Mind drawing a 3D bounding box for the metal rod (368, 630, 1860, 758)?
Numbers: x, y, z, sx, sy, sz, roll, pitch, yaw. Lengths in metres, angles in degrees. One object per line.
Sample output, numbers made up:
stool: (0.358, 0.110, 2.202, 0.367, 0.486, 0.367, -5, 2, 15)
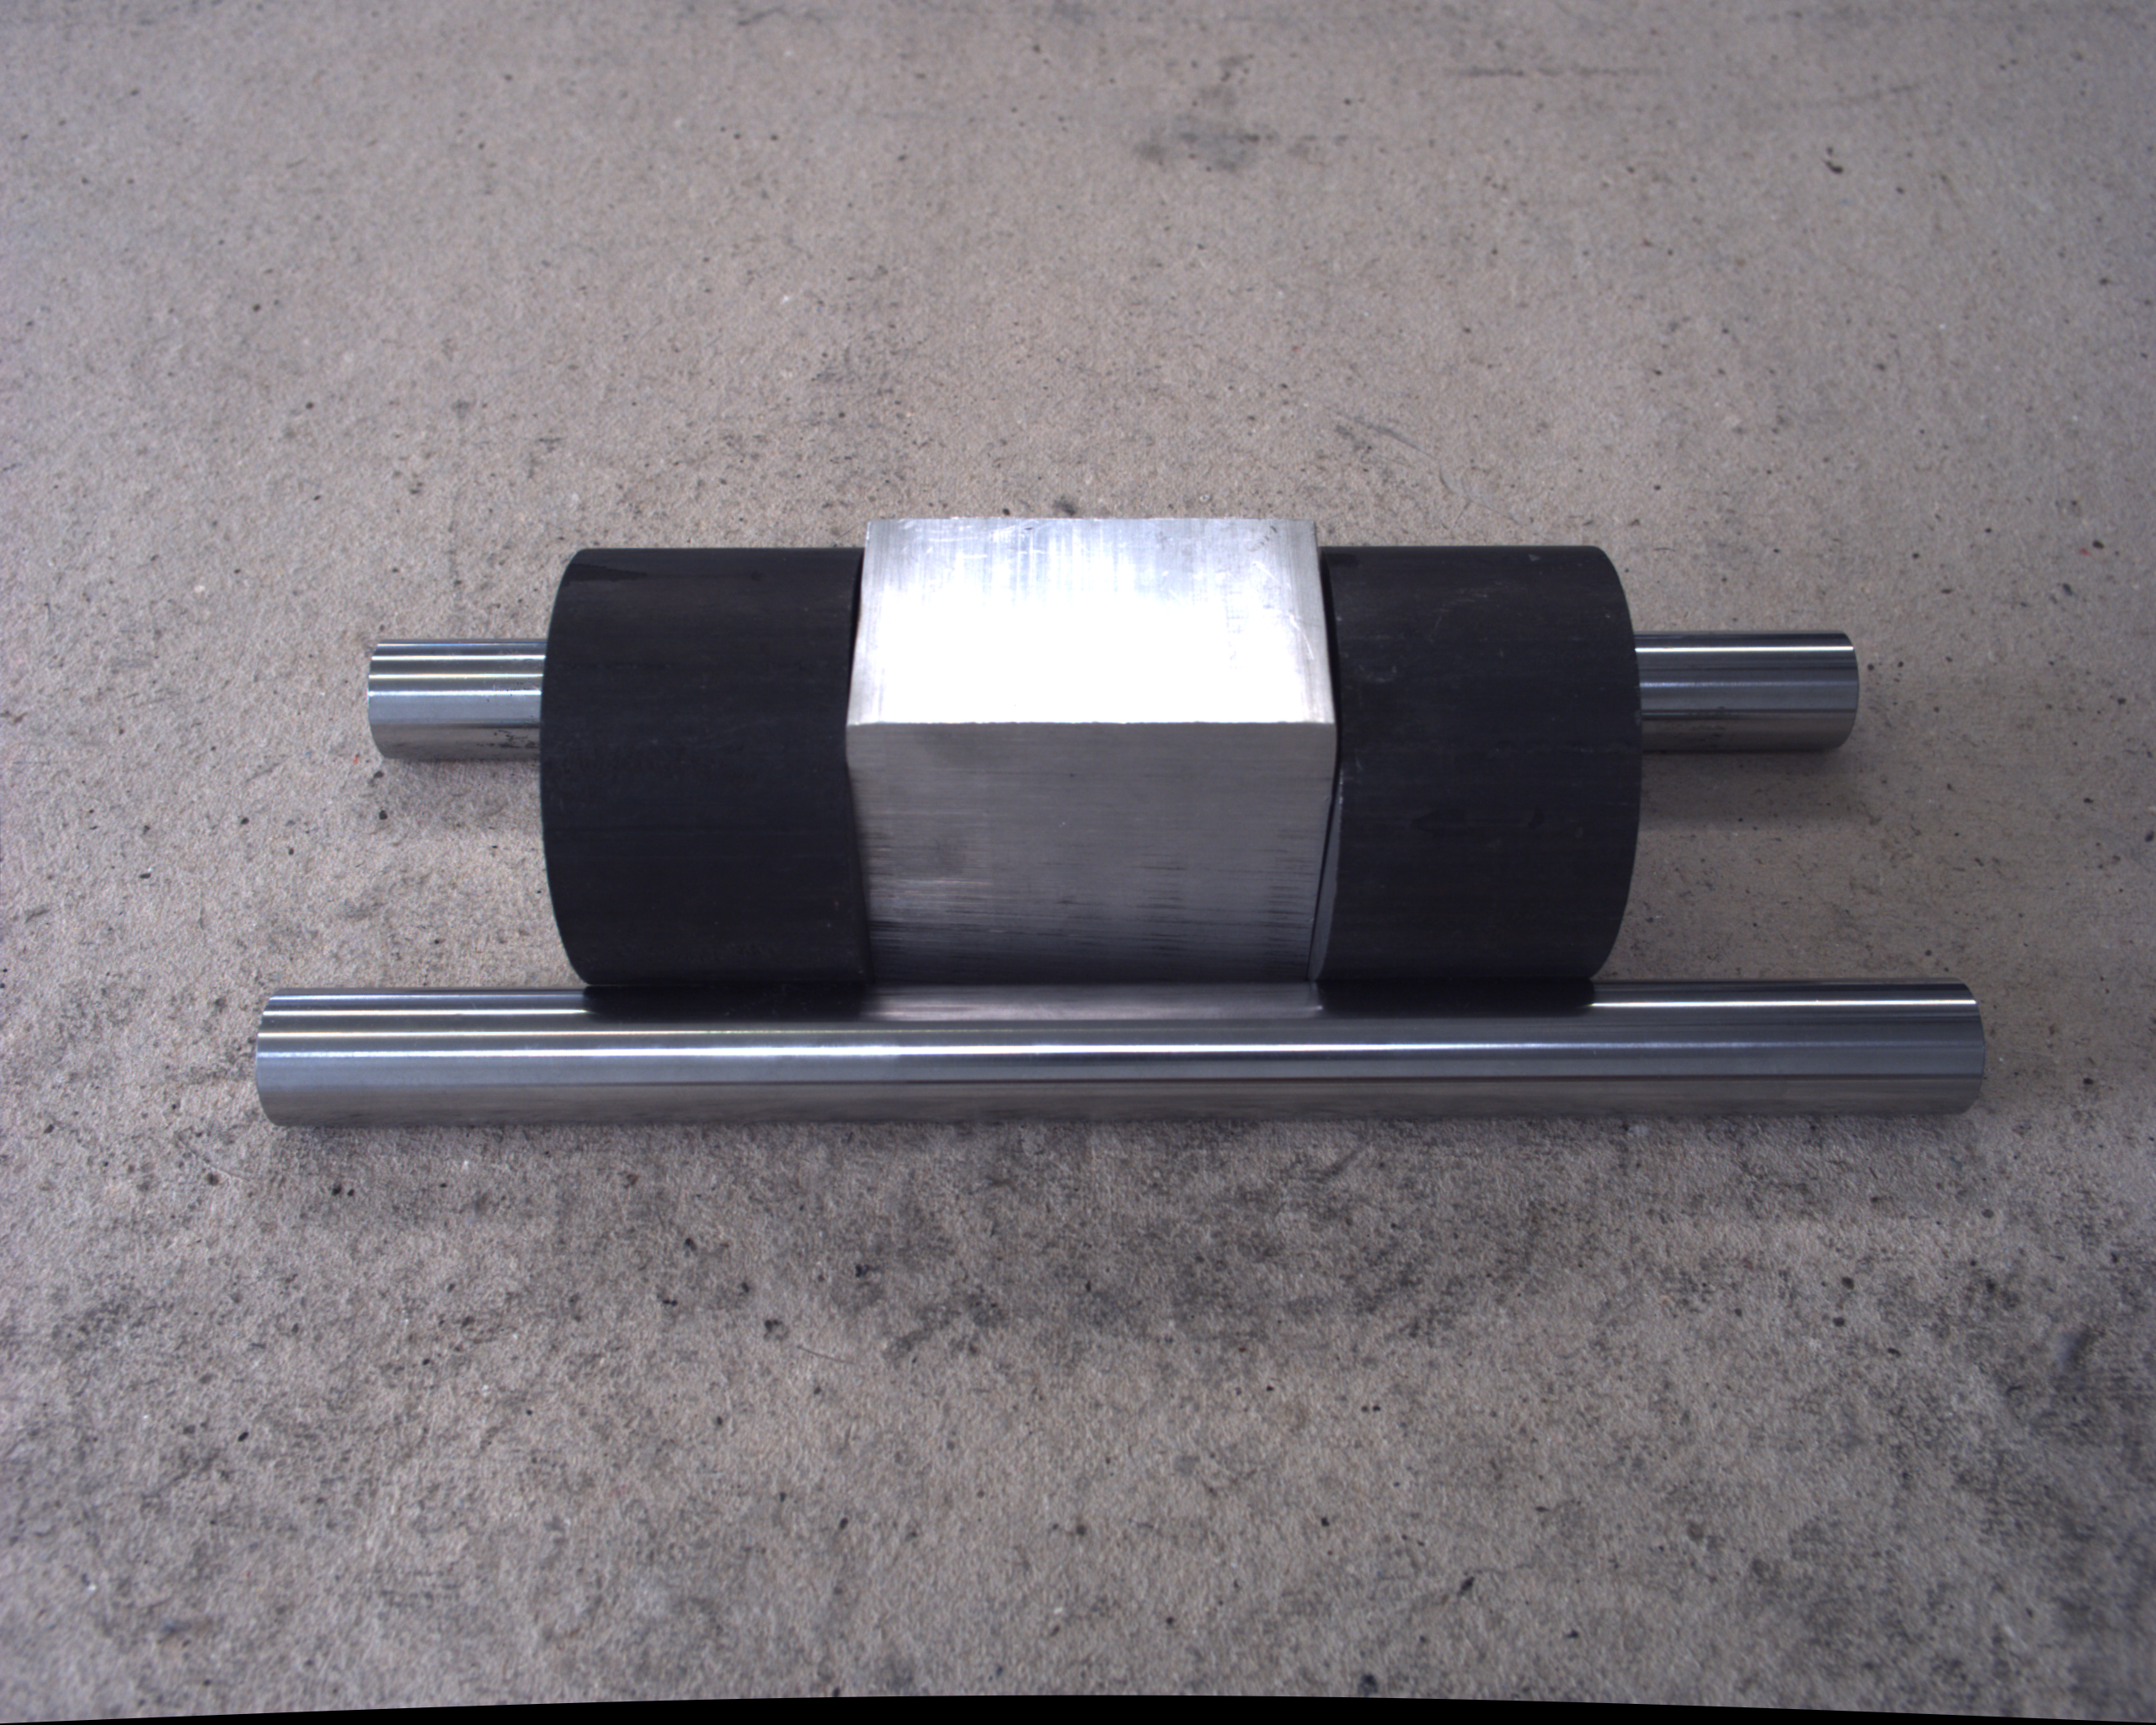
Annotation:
metal rod: (0.008, -0.035, 0.434, 0.302, 0.025, 0.025, 0, 50, -1)

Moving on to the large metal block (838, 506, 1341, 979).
large metal block: (0.002, -0.018, 0.381, 0.081, 0.080, 0.050, 0, 50, 0)

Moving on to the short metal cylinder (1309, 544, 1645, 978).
short metal cylinder: (0.068, -0.018, 0.384, 0.050, 0.080, 0.080, -1, 50, -1)

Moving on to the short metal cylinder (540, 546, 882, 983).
short metal cylinder: (-0.064, -0.018, 0.383, 0.050, 0.080, 0.080, -1, 50, -1)

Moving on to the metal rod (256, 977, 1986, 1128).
metal rod: (0.008, 0.034, 0.376, 0.302, 0.025, 0.025, 0, 50, -1)
